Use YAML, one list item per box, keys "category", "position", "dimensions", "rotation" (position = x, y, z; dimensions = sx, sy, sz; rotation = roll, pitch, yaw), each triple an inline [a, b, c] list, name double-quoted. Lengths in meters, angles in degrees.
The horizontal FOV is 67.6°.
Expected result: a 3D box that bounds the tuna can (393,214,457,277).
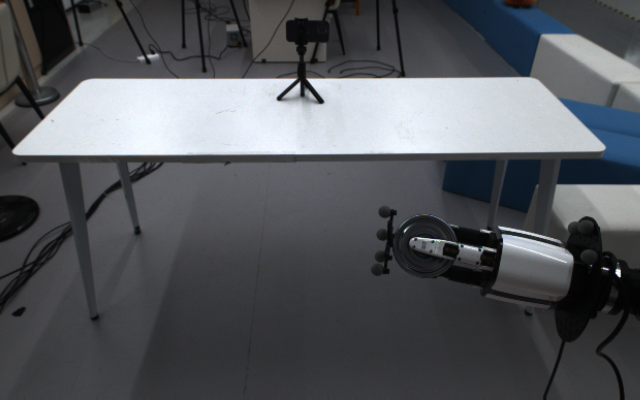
- category: "tuna can"
  position: [0.144, 0.060, 0.652]
  dimensions: [0.085, 0.085, 0.034]
  rotation: [9, -7, 10]
